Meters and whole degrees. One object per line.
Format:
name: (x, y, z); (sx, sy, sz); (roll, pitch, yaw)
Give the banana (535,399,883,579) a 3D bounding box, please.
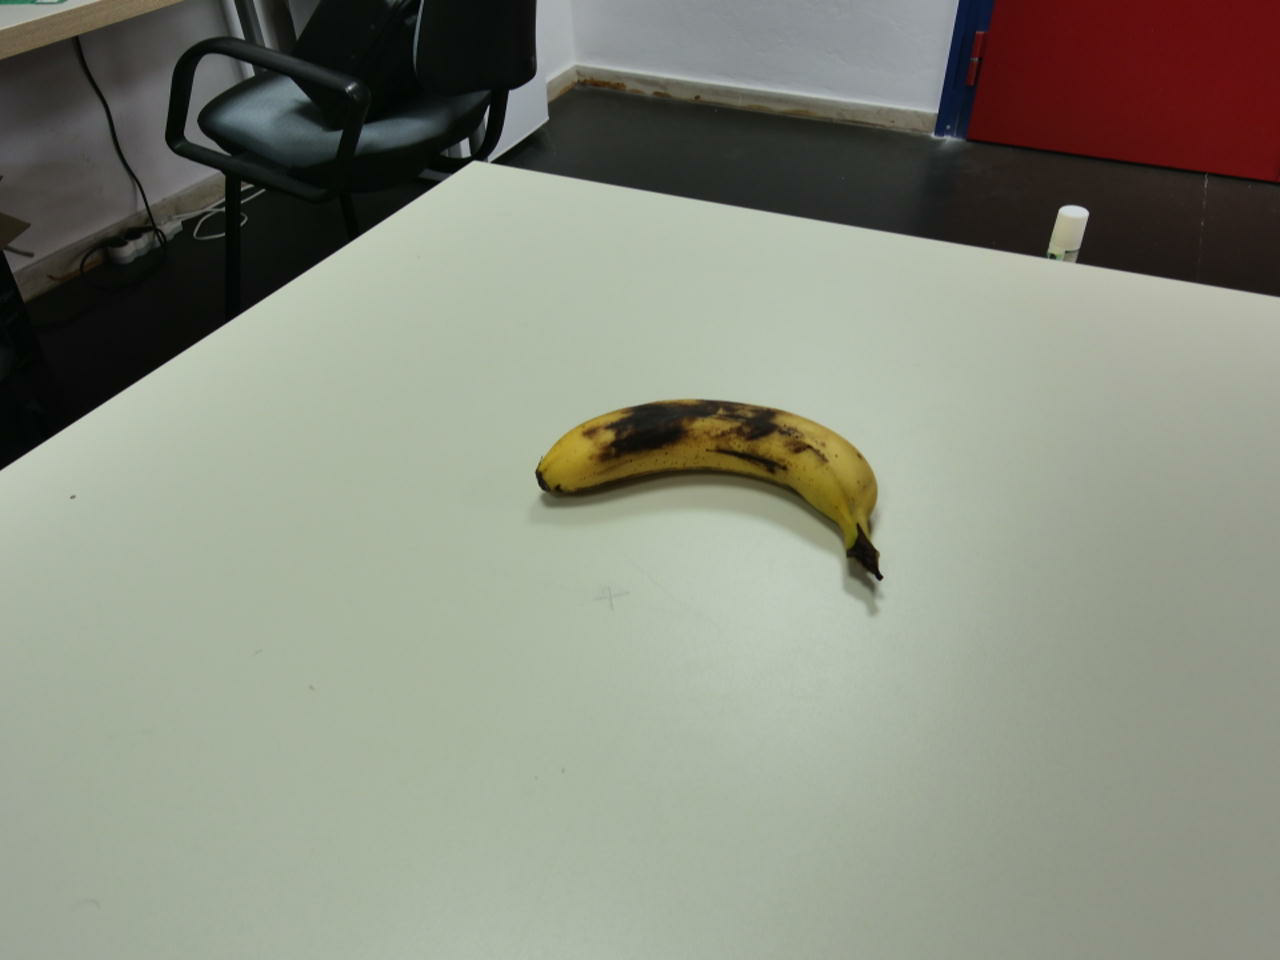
banana: (0.045, -0.008, 0.530); (0.187, 0.039, 0.094); (15, 41, 19)
